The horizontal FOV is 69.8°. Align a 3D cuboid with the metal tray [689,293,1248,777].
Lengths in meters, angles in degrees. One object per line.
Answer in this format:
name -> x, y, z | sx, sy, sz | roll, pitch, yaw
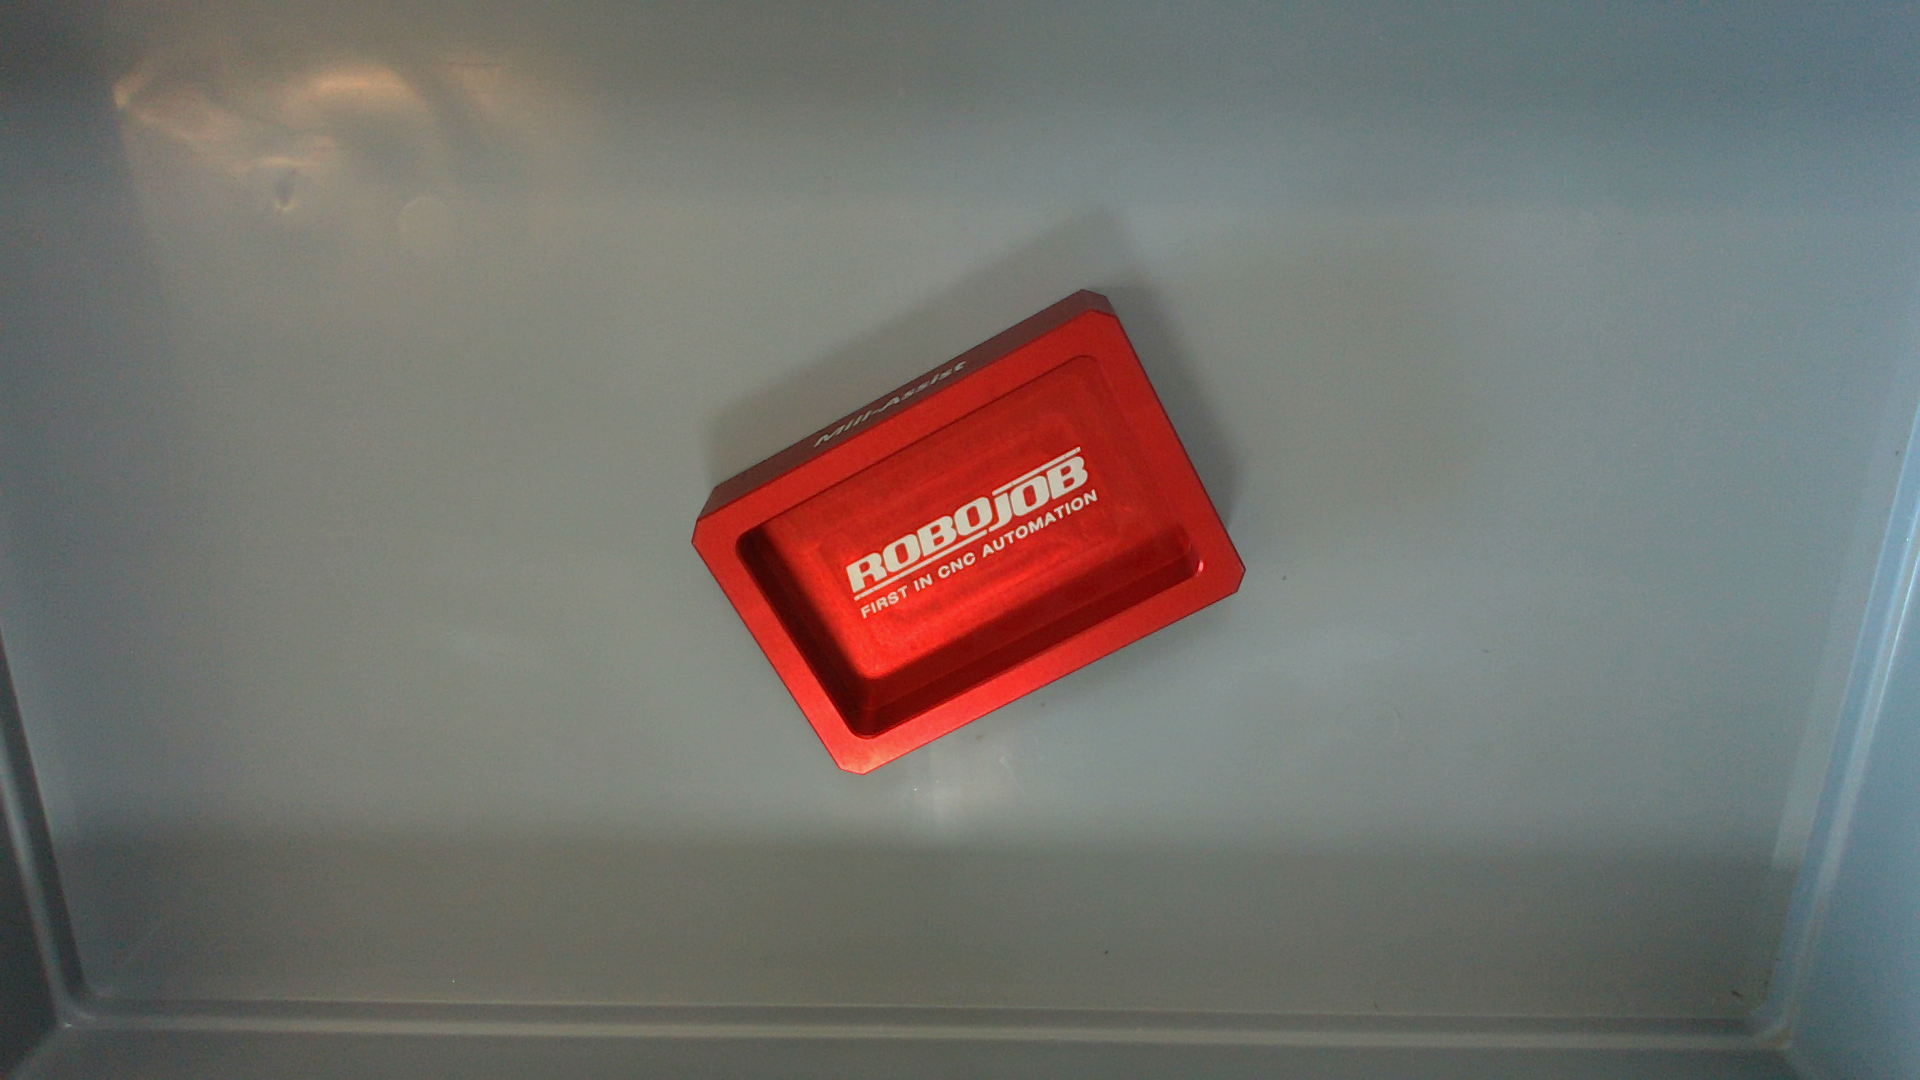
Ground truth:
metal tray -> 0.003, 0.000, 0.388 | 0.130, 0.030, 0.090 | -27, 108, 9
